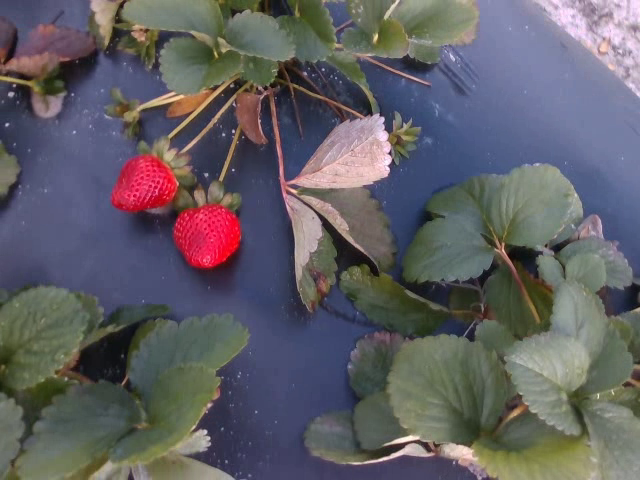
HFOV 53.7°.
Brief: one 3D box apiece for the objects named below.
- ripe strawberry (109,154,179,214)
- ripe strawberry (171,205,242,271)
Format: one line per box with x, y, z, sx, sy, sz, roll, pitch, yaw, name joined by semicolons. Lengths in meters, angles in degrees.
-0.134;-0.039;0.463;0.048;0.056;0.041;30;-38;7;ripe strawberry
-0.085;-0.003;0.447;0.057;0.051;0.064;-3;42;-4;ripe strawberry
